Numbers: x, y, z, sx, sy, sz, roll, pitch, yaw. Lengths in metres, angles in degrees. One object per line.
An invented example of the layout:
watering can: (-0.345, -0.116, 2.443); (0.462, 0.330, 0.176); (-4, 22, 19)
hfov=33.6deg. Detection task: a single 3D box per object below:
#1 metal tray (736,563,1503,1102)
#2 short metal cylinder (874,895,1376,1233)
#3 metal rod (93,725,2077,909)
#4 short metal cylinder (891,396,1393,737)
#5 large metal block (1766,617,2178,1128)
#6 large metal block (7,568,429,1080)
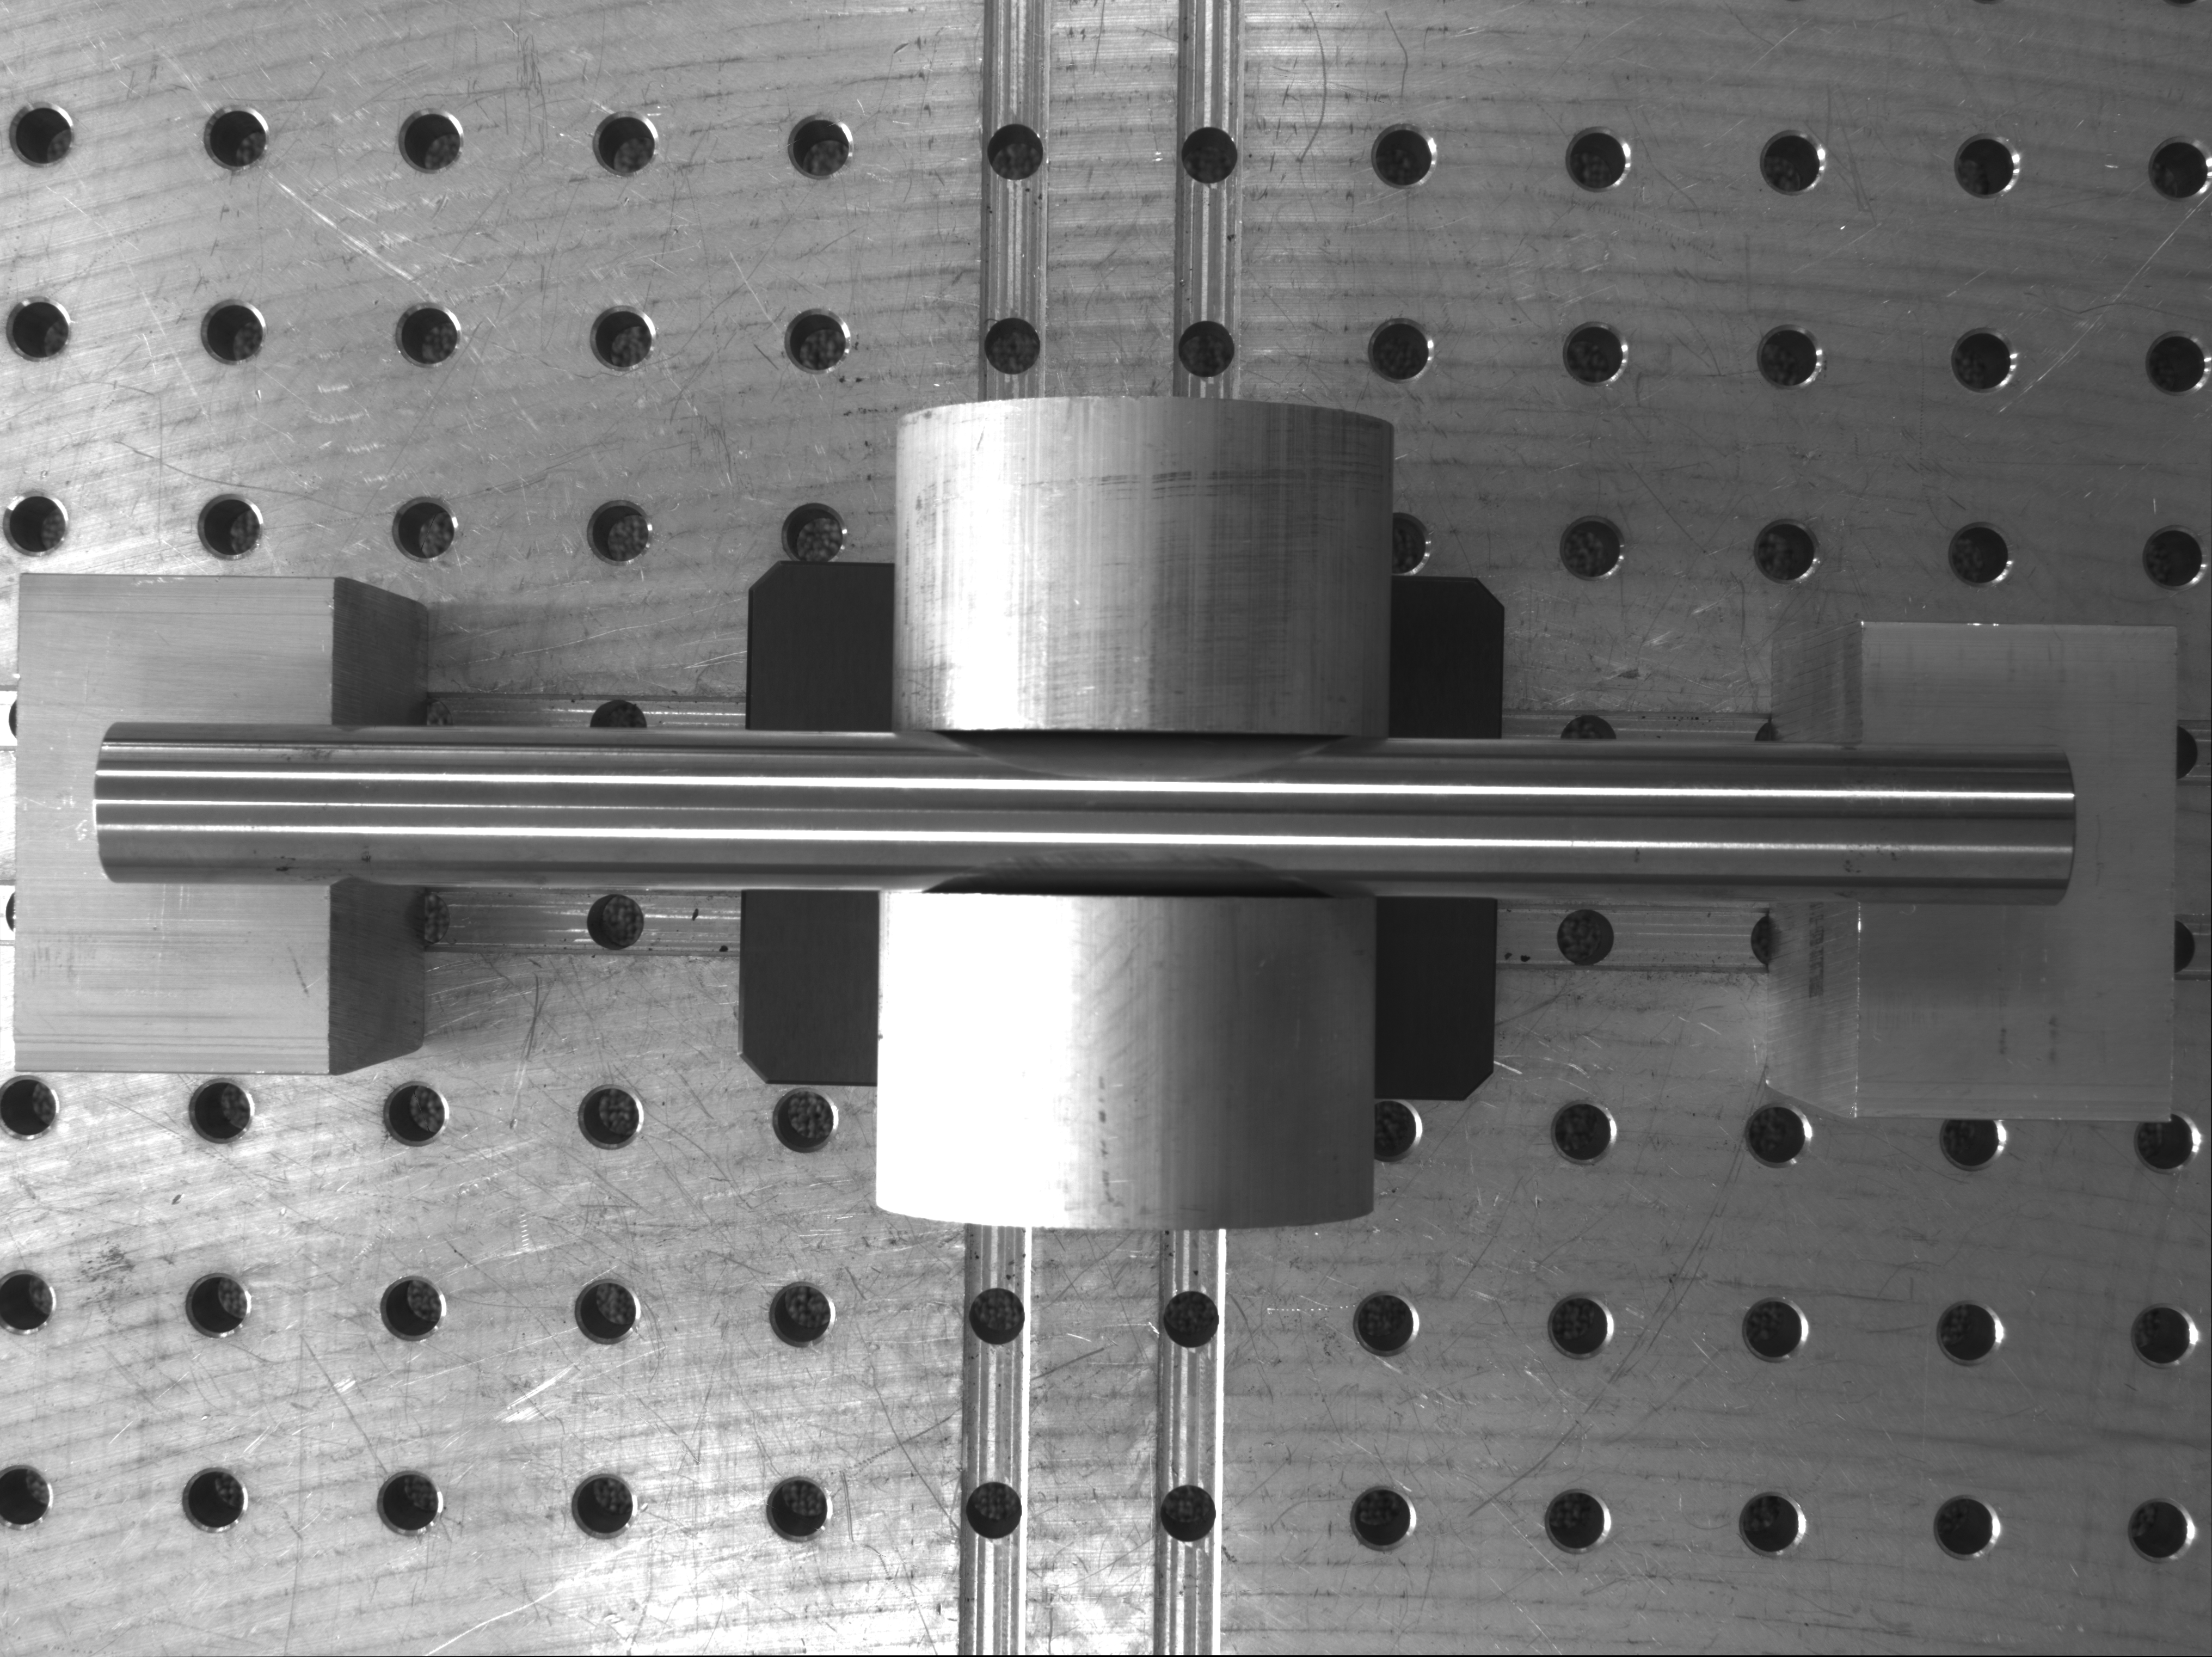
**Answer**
metal tray: (0.002, 0.001, 0.645); (0.130, 0.030, 0.090); (1, 90, 0)
short metal cylinder: (0.003, 0.036, 0.590); (0.080, 0.080, 0.050); (1, 90, 0)
metal rod: (-0.003, -0.002, 0.567); (0.300, 0.025, 0.025); (1, 90, 0)
short metal cylinder: (0.006, -0.040, 0.590); (0.080, 0.080, 0.050); (1, 90, 0)
large metal block: (0.144, 0.007, 0.619); (0.050, 0.080, 0.080); (1, 90, 0)
large metal block: (-0.148, -0.001, 0.619); (0.050, 0.080, 0.080); (1, 90, 0)
